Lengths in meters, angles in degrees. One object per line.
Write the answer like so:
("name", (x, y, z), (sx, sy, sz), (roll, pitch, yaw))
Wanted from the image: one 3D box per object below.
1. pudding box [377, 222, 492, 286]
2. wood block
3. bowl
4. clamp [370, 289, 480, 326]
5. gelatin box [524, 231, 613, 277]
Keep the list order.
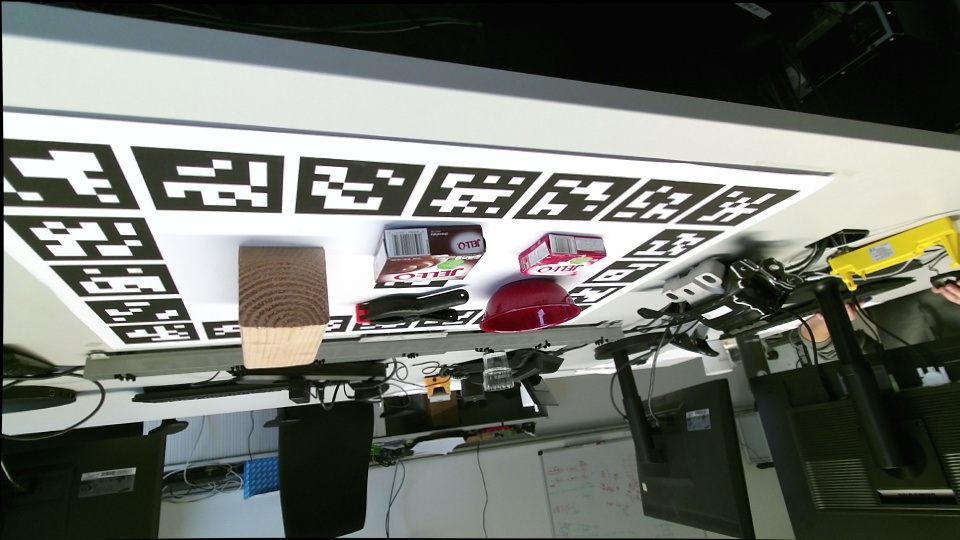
("pudding box", (-0.054, -0.018, 0.614), (0.114, 0.038, 0.090), (-3, 154, -22))
("wood block", (-0.238, 0.054, 0.644), (0.090, 0.090, 0.206), (1, 156, -24))
("bowl", (0.080, 0.054, 0.849), (0.162, 0.055, 0.162), (-8, 156, -4))
("clamp", (-0.086, 0.063, 0.828), (0.166, 0.036, 0.122), (-3, 158, -11))
("gelatin box", (0.115, -0.018, 0.695), (0.090, 0.030, 0.073), (3, 154, -29))
